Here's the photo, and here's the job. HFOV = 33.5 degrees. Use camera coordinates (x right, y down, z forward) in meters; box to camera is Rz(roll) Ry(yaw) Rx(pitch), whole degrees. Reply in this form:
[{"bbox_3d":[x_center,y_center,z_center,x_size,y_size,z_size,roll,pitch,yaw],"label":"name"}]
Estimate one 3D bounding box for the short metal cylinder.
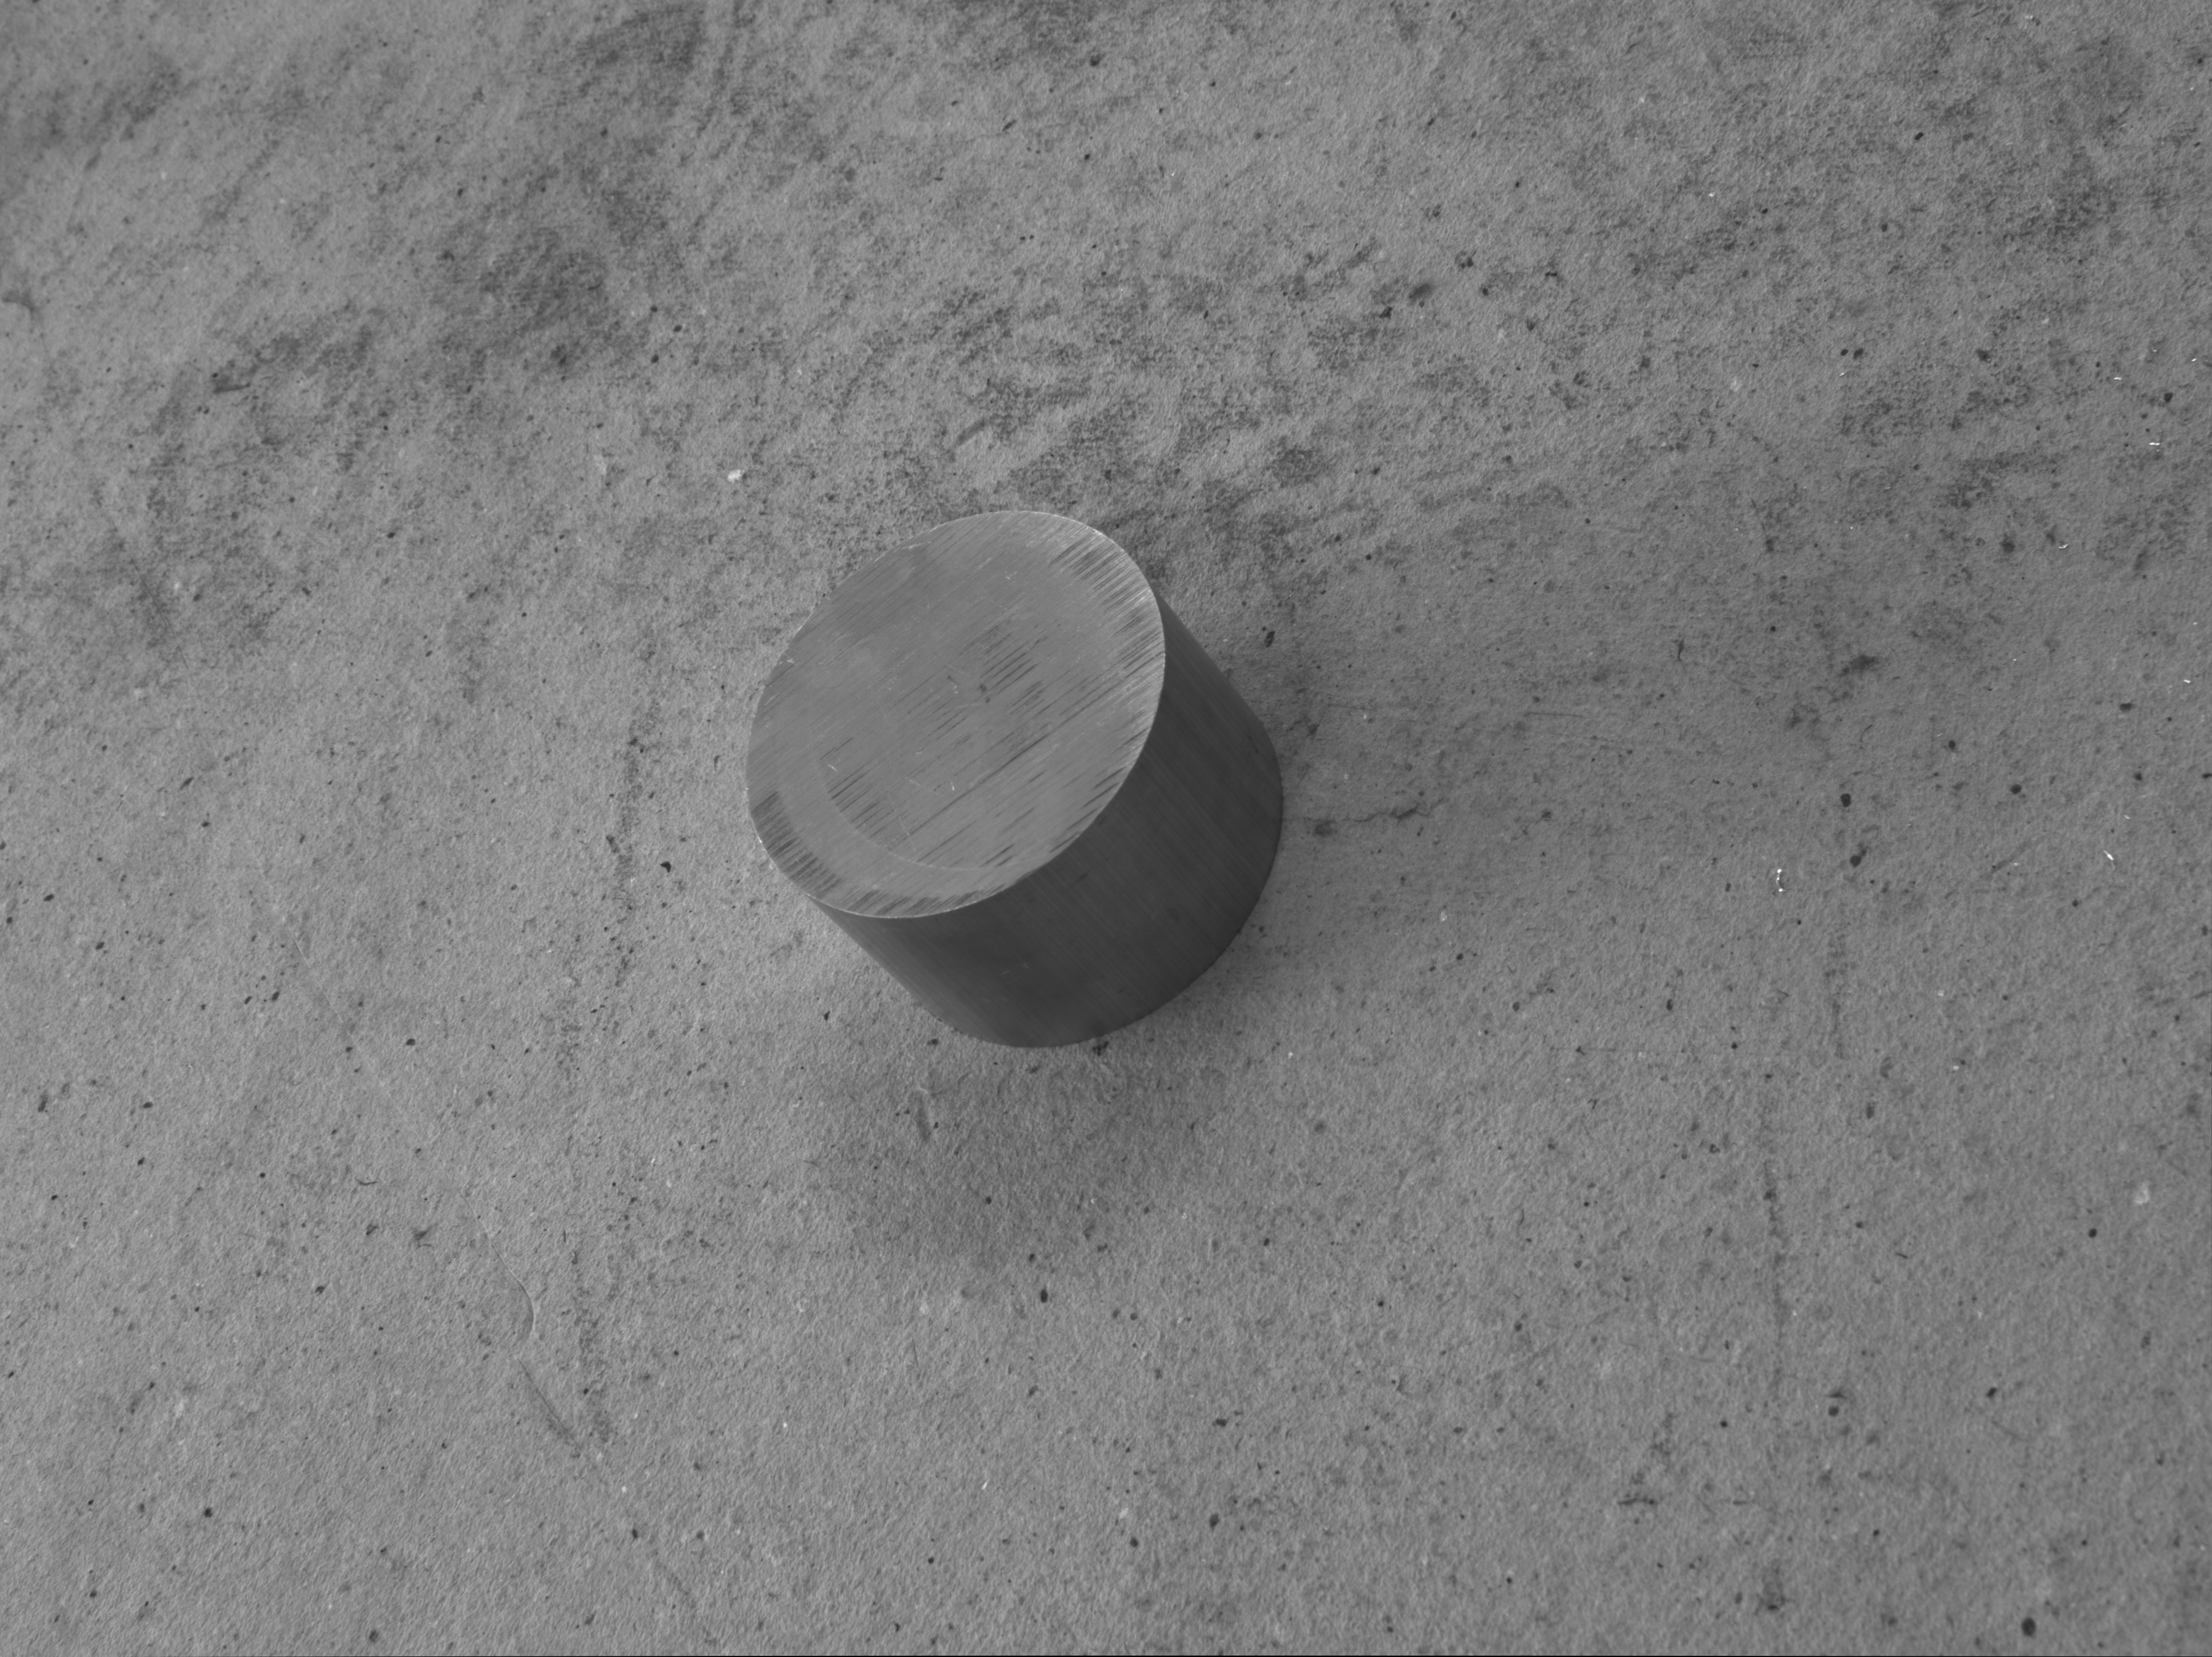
[{"bbox_3d":[-0.016,-0.008,0.644,0.080,0.050,0.080,-13,56,20],"label":"short metal cylinder"}]
